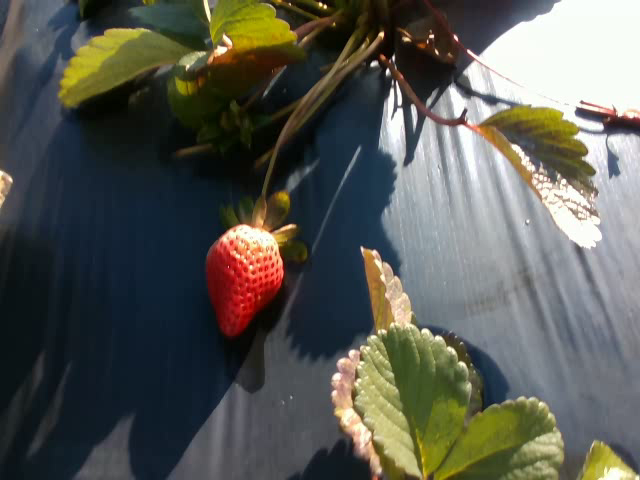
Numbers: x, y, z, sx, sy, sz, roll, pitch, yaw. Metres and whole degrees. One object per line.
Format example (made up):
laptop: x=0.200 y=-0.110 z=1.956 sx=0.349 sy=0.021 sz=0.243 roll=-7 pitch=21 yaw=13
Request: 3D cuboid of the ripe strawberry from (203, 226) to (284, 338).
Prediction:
ripe strawberry: x=-0.036 y=0.018 z=0.283 sx=0.043 sy=0.064 sz=0.044 roll=26 pitch=-38 yaw=-32
